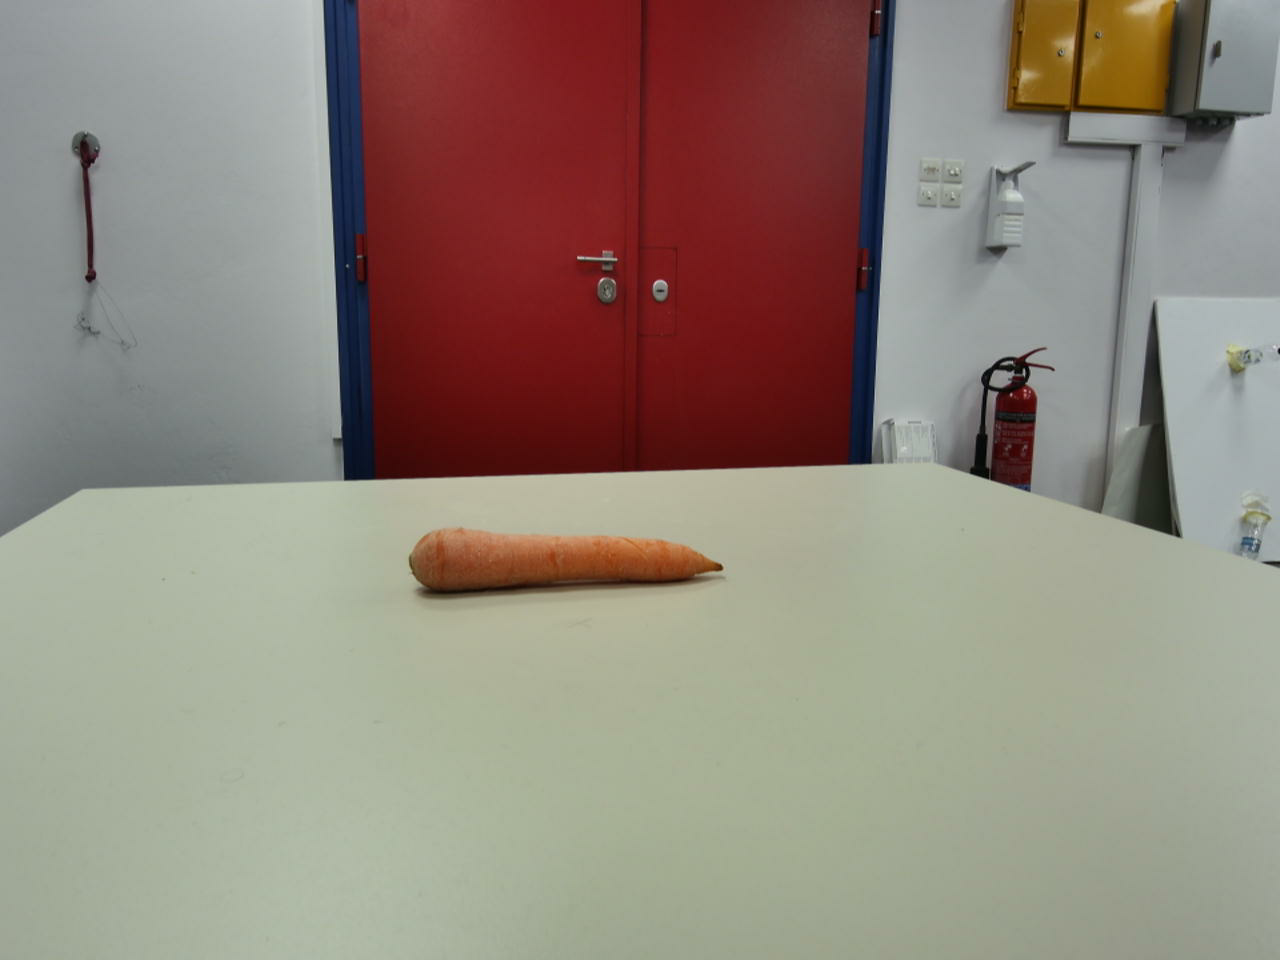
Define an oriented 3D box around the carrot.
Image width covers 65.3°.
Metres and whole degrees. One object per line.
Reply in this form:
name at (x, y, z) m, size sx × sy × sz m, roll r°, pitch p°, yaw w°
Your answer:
carrot at (-0.043, 0.047, 0.624) m, size 0.196 × 0.041 × 0.039 m, roll -2°, pitch 8°, yaw -12°
